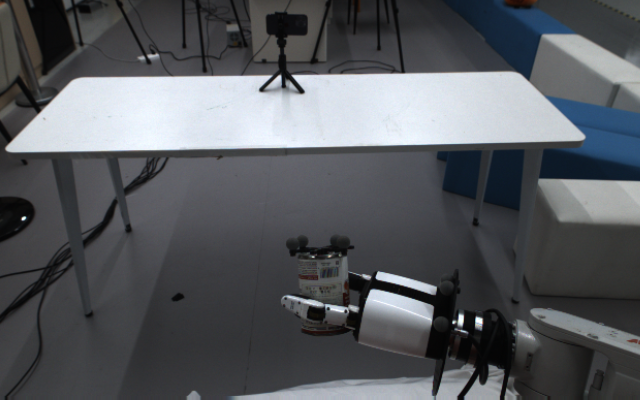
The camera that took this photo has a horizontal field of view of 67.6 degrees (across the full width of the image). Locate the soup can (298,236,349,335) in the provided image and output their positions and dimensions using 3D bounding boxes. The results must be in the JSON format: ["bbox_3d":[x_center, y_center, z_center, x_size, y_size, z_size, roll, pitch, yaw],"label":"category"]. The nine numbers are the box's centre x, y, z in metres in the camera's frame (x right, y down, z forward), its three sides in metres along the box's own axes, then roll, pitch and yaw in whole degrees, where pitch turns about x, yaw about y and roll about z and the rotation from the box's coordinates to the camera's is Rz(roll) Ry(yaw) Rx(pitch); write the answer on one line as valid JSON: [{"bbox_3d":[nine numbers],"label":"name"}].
[{"bbox_3d":[0.007,0.121,0.638,0.067,0.101,0.067,-3,-1,0],"label":"soup can"}]
